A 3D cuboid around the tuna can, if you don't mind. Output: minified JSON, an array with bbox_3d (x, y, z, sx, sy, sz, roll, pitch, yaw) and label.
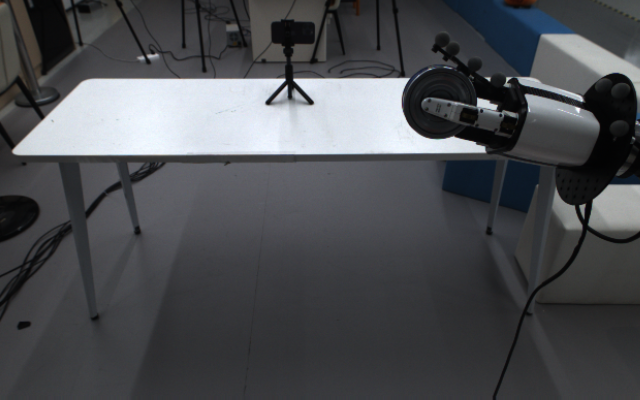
[{"bbox_3d":[0.142,-0.119,0.578,0.085,0.085,0.034,6,19,6],"label":"tuna can"}]
